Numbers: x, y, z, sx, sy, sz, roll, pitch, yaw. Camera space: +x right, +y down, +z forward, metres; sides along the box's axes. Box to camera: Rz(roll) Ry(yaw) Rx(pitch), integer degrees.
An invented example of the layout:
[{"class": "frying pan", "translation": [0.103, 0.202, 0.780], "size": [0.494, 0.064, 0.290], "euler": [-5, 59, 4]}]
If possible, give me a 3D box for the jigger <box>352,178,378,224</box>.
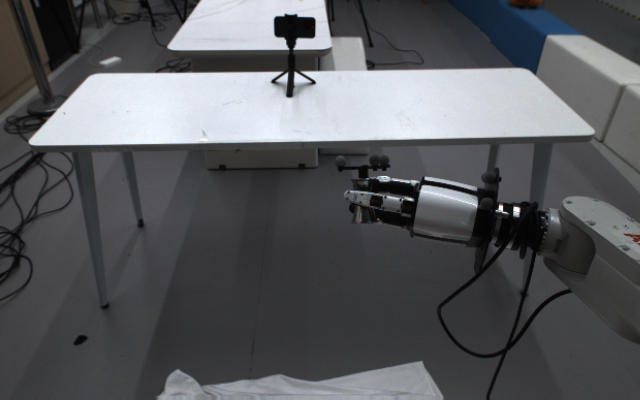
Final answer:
[{"class": "jigger", "translation": [0.067, 0.000, 0.750], "size": [0.043, 0.071, 0.043], "euler": [-2, 3, 0]}]
